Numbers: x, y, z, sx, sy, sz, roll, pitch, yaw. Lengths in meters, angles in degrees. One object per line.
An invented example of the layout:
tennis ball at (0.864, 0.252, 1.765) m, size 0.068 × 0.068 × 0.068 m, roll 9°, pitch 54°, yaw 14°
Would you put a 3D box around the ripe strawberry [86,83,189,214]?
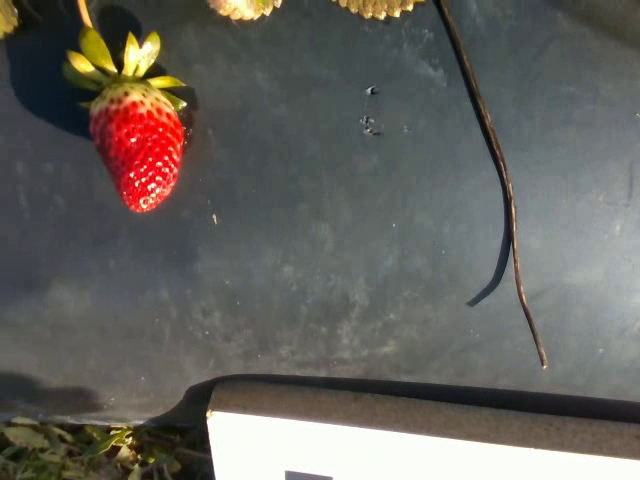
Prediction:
ripe strawberry at (-0.050, -0.024, 0.167) m, size 0.028 × 0.041 × 0.031 m, roll -15°, pitch -23°, yaw 21°
